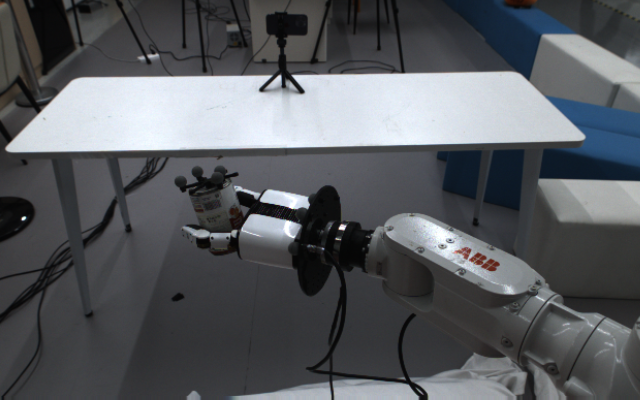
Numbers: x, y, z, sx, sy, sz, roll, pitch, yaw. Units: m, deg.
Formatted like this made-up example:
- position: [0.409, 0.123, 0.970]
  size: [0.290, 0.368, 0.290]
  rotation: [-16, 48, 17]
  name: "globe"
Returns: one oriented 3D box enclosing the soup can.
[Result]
- position: [-0.149, 0.024, 0.727]
  size: [0.067, 0.101, 0.067]
  rotation: [-13, 20, 5]
  name: "soup can"
